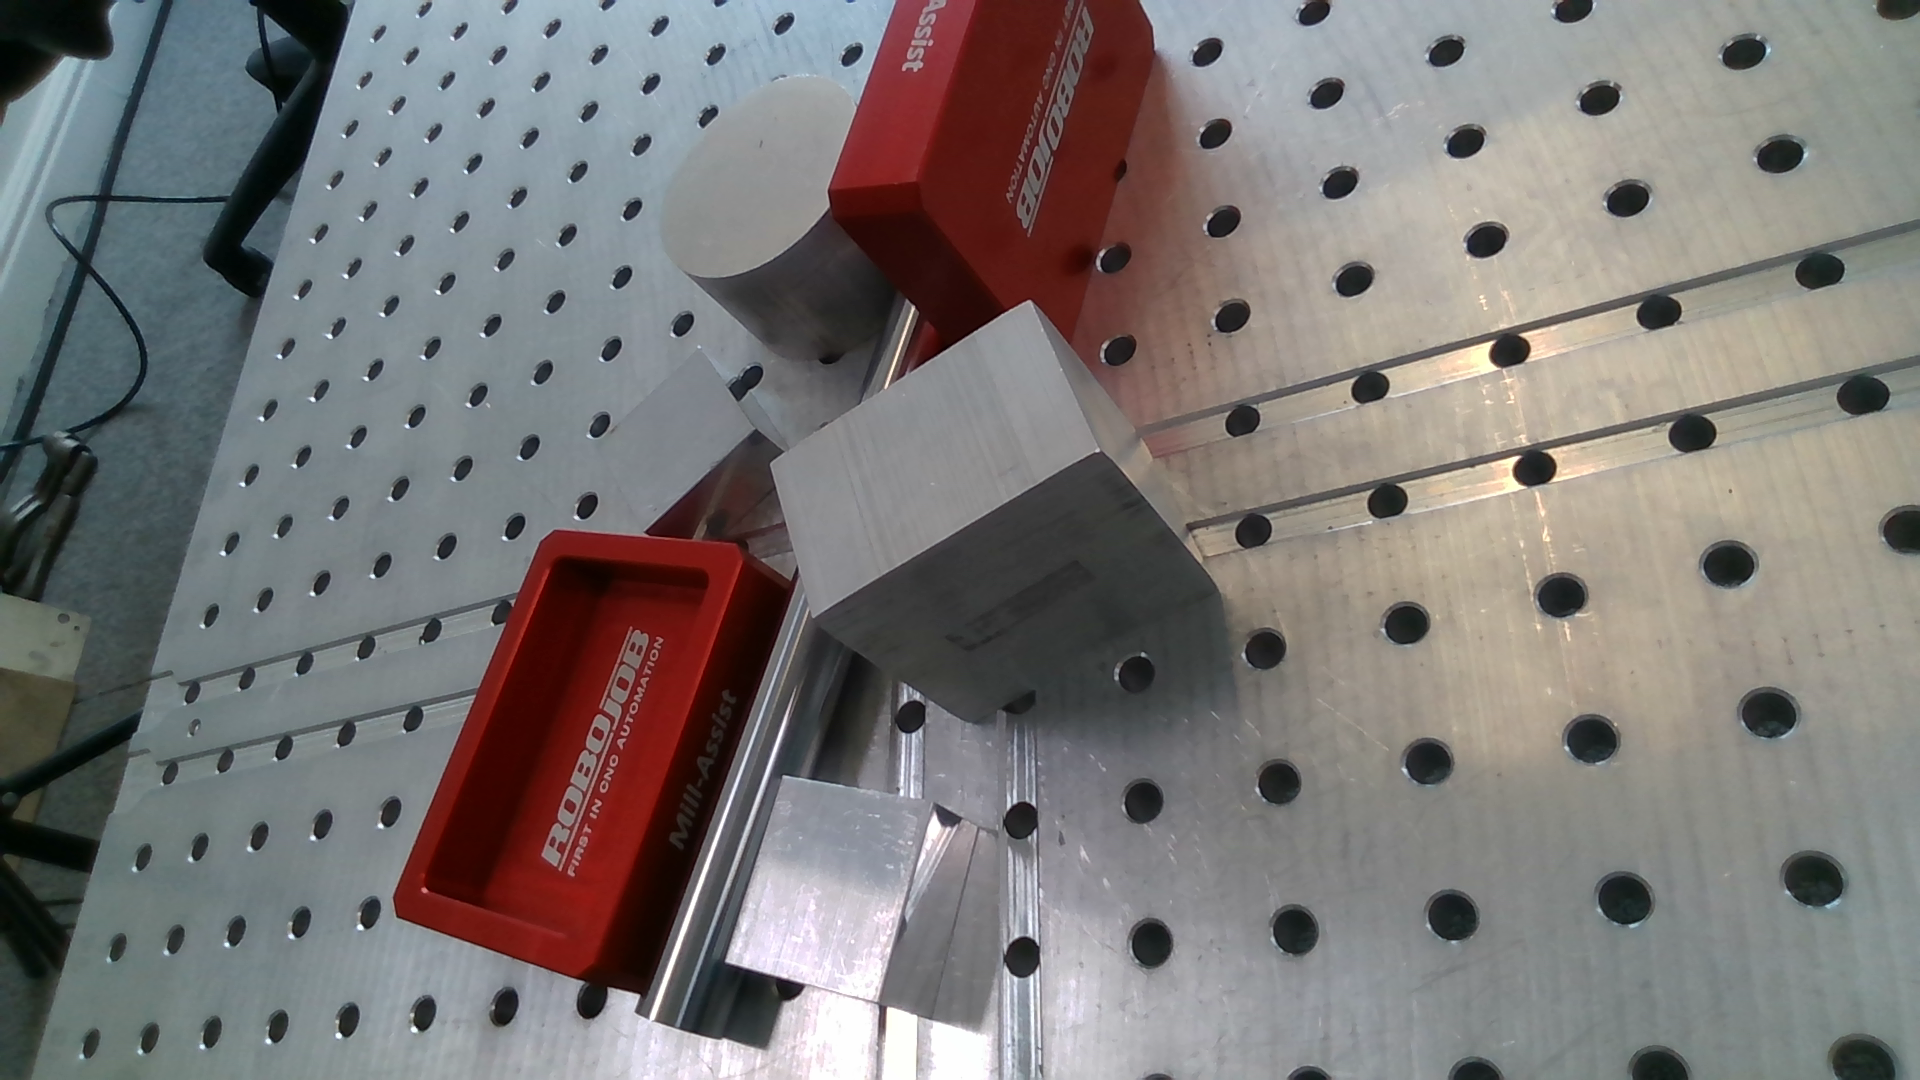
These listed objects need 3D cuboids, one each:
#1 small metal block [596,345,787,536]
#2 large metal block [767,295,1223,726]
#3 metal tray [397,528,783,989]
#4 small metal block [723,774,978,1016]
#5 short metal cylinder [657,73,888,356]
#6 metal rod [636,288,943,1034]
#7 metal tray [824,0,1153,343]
[{"bbox_3d":[-0.090,-0.029,0.468,0.050,0.025,0.050,-42,51,6],"label":"small metal block"},{"bbox_3d":[0.010,-0.003,0.358,0.080,0.080,0.050,-31,53,14],"label":"large metal block"},{"bbox_3d":[-0.113,0.063,0.428,0.090,0.030,0.130,4,68,33],"label":"metal tray"},{"bbox_3d":[-0.028,0.093,0.364,0.050,0.025,0.050,3,67,33],"label":"small metal block"},{"bbox_3d":[-0.056,-0.111,0.472,0.080,0.050,0.080,-14,59,25],"label":"short metal cylinder"},{"bbox_3d":[-0.032,-0.005,0.419,0.025,0.025,0.299,6,69,34],"label":"metal rod"},{"bbox_3d":[0.014,-0.129,0.413,0.030,0.090,0.130,5,68,33],"label":"metal tray"}]
